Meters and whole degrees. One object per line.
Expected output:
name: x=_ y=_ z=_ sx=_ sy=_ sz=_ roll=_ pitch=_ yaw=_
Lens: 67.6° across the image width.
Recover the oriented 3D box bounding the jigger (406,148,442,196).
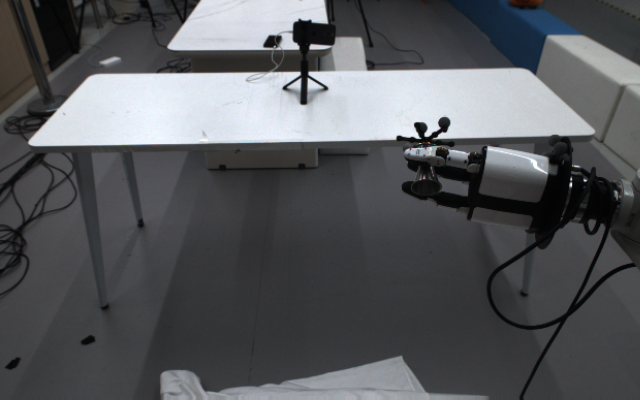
jigger: x=0.155 y=-0.047 z=0.718 sx=0.043 sy=0.043 sz=0.071 roll=4 pitch=61 yaw=3
